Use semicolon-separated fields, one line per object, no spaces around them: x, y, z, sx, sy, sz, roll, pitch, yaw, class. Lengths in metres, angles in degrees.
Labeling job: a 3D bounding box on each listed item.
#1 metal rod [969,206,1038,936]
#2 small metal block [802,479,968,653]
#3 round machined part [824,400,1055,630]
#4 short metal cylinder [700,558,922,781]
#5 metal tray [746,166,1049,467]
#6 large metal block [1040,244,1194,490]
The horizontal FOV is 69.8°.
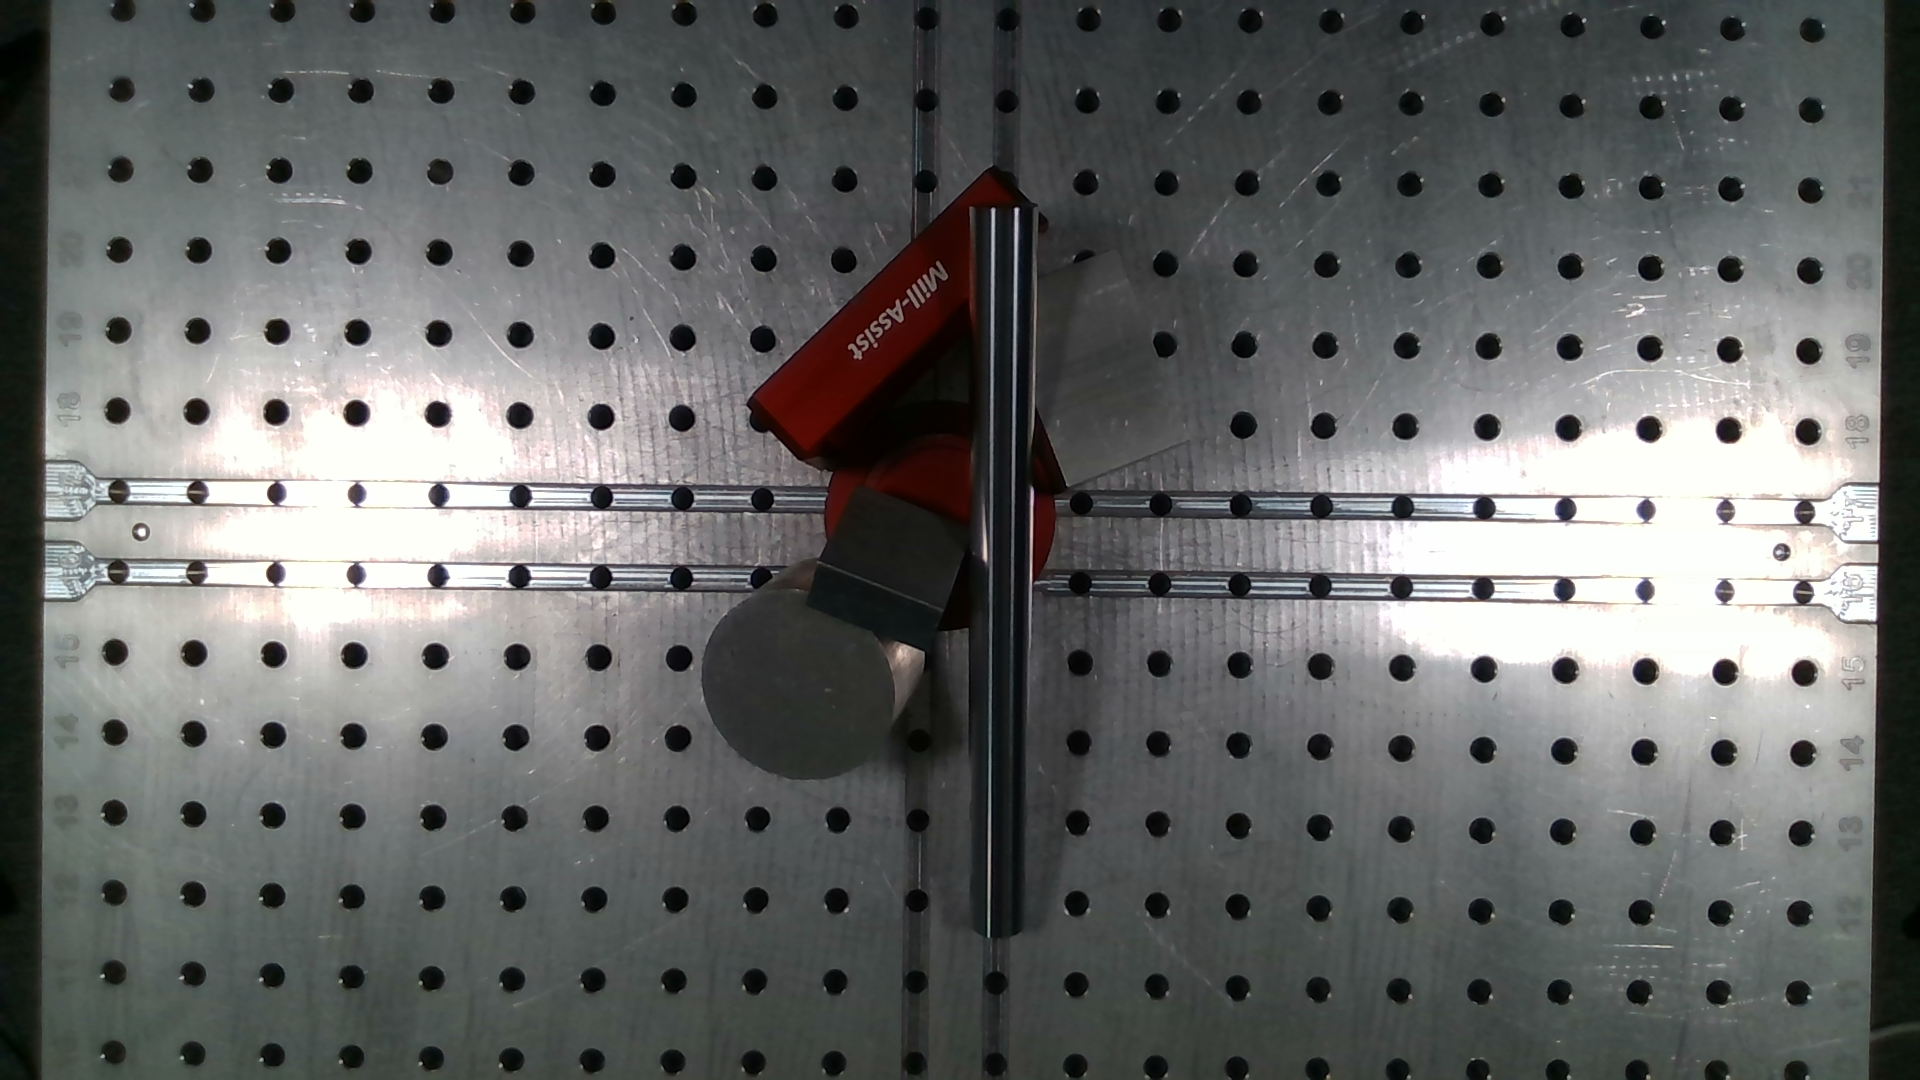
0.016;0.022;0.542;0.025;0.025;0.301;0;110;0;metal rod
-0.027;0.010;0.533;0.050;0.050;0.025;21;132;-2;small metal block
-0.009;-0.010;0.583;0.098;0.042;0.098;0;90;0;round machined part
-0.059;0.052;0.565;0.080;0.050;0.080;3;106;12;short metal cylinder
-0.023;-0.085;0.555;0.130;0.090;0.030;-43;90;0;metal tray
0.050;-0.065;0.560;0.050;0.080;0.080;-21;90;0;large metal block
